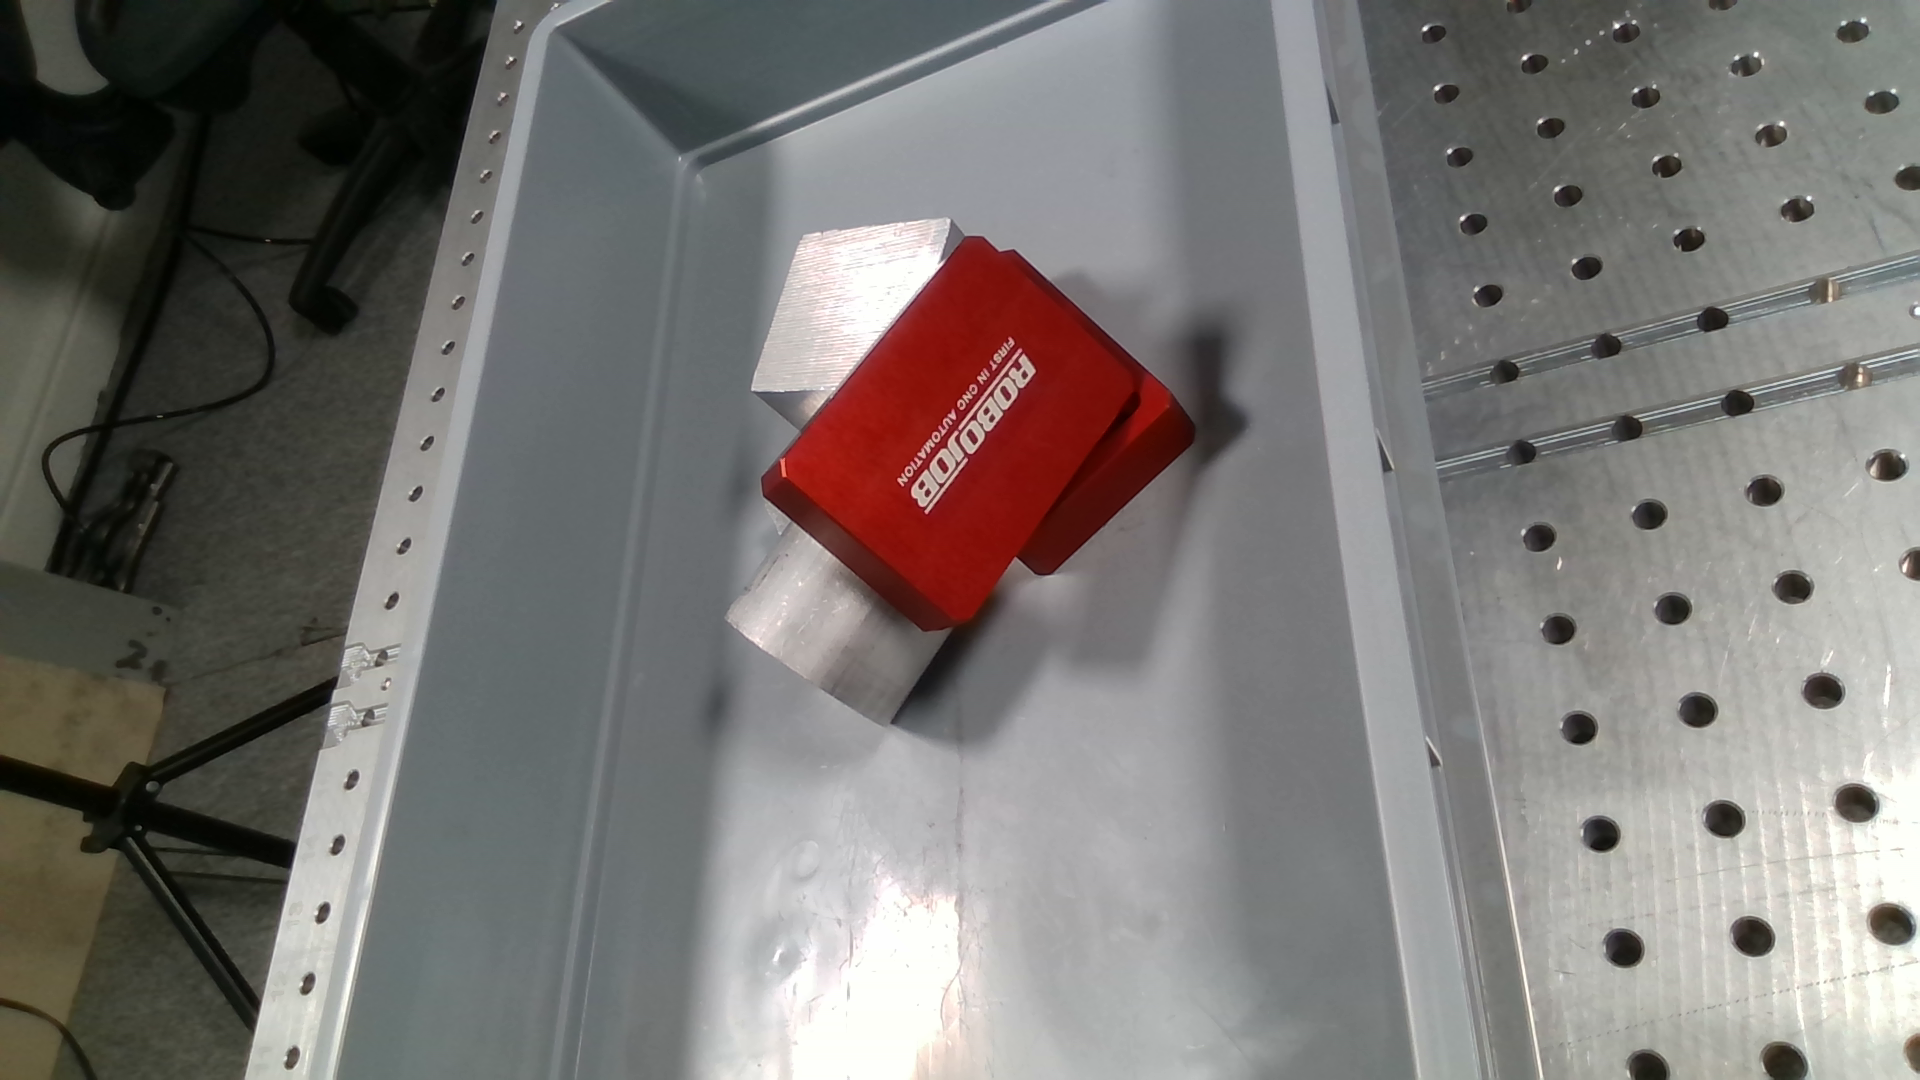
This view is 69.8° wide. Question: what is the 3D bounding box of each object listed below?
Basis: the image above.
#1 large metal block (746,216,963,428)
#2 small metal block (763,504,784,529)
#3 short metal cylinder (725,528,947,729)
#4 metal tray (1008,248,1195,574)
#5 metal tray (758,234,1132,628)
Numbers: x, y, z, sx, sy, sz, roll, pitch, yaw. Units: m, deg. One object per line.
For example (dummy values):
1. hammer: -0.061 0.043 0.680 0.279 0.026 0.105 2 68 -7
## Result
1. large metal block: -0.035 -0.088 0.595 0.080 0.050 0.080 2 67 32
2. small metal block: -0.055 -0.010 0.623 0.050 0.025 0.050 -39 52 8
3. short metal cylinder: -0.049 0.034 0.562 0.080 0.080 0.050 29 83 39
4. metal tray: 0.027 -0.058 0.594 0.090 0.030 0.130 -43 51 5
5. metal tray: -0.004 -0.042 0.529 0.130 0.090 0.030 -54 11 -22
